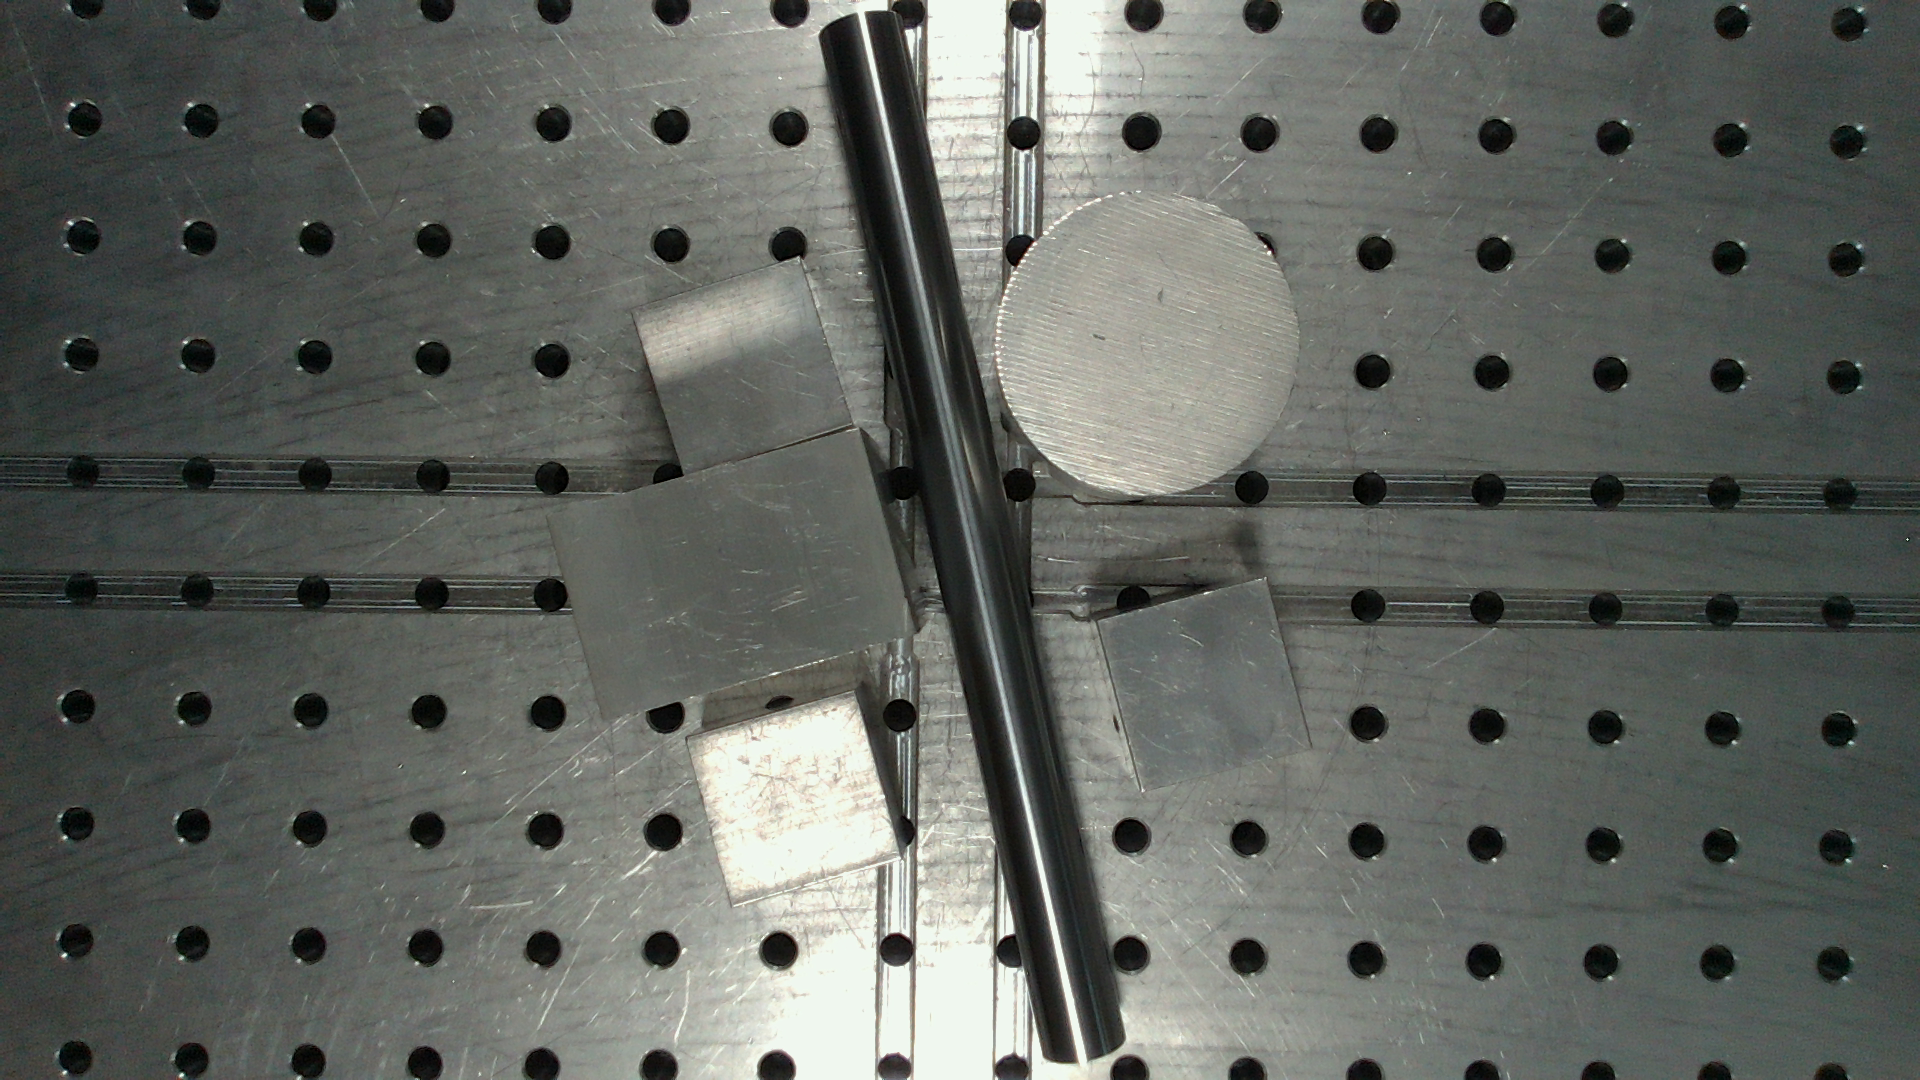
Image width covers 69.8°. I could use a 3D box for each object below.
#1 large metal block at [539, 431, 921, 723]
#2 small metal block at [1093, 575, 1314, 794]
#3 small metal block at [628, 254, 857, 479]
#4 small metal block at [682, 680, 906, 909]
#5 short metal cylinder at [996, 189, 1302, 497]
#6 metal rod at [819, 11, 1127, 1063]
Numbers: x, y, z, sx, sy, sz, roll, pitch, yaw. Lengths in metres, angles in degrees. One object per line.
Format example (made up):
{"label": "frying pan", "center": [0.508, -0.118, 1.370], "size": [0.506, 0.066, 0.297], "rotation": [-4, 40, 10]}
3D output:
{"label": "large metal block", "center": [-0.055, 0.009, 0.369], "size": [0.080, 0.080, 0.050], "rotation": [-16, 90, 0]}
{"label": "small metal block", "center": [0.069, 0.041, 0.398], "size": [0.050, 0.025, 0.050], "rotation": [-15, 90, 0]}
{"label": "small metal block", "center": [-0.061, -0.049, 0.397], "size": [0.050, 0.025, 0.050], "rotation": [-18, 90, 0]}
{"label": "small metal block", "center": [-0.047, 0.073, 0.398], "size": [0.050, 0.025, 0.050], "rotation": [-16, 90, 0]}
{"label": "short metal cylinder", "center": [0.050, -0.052, 0.385], "size": [0.080, 0.050, 0.080], "rotation": [0, 90, 0]}
{"label": "metal rod", "center": [0.004, -0.001, 0.397], "size": [0.025, 0.025, 0.300], "rotation": [-12, 90, 0]}
